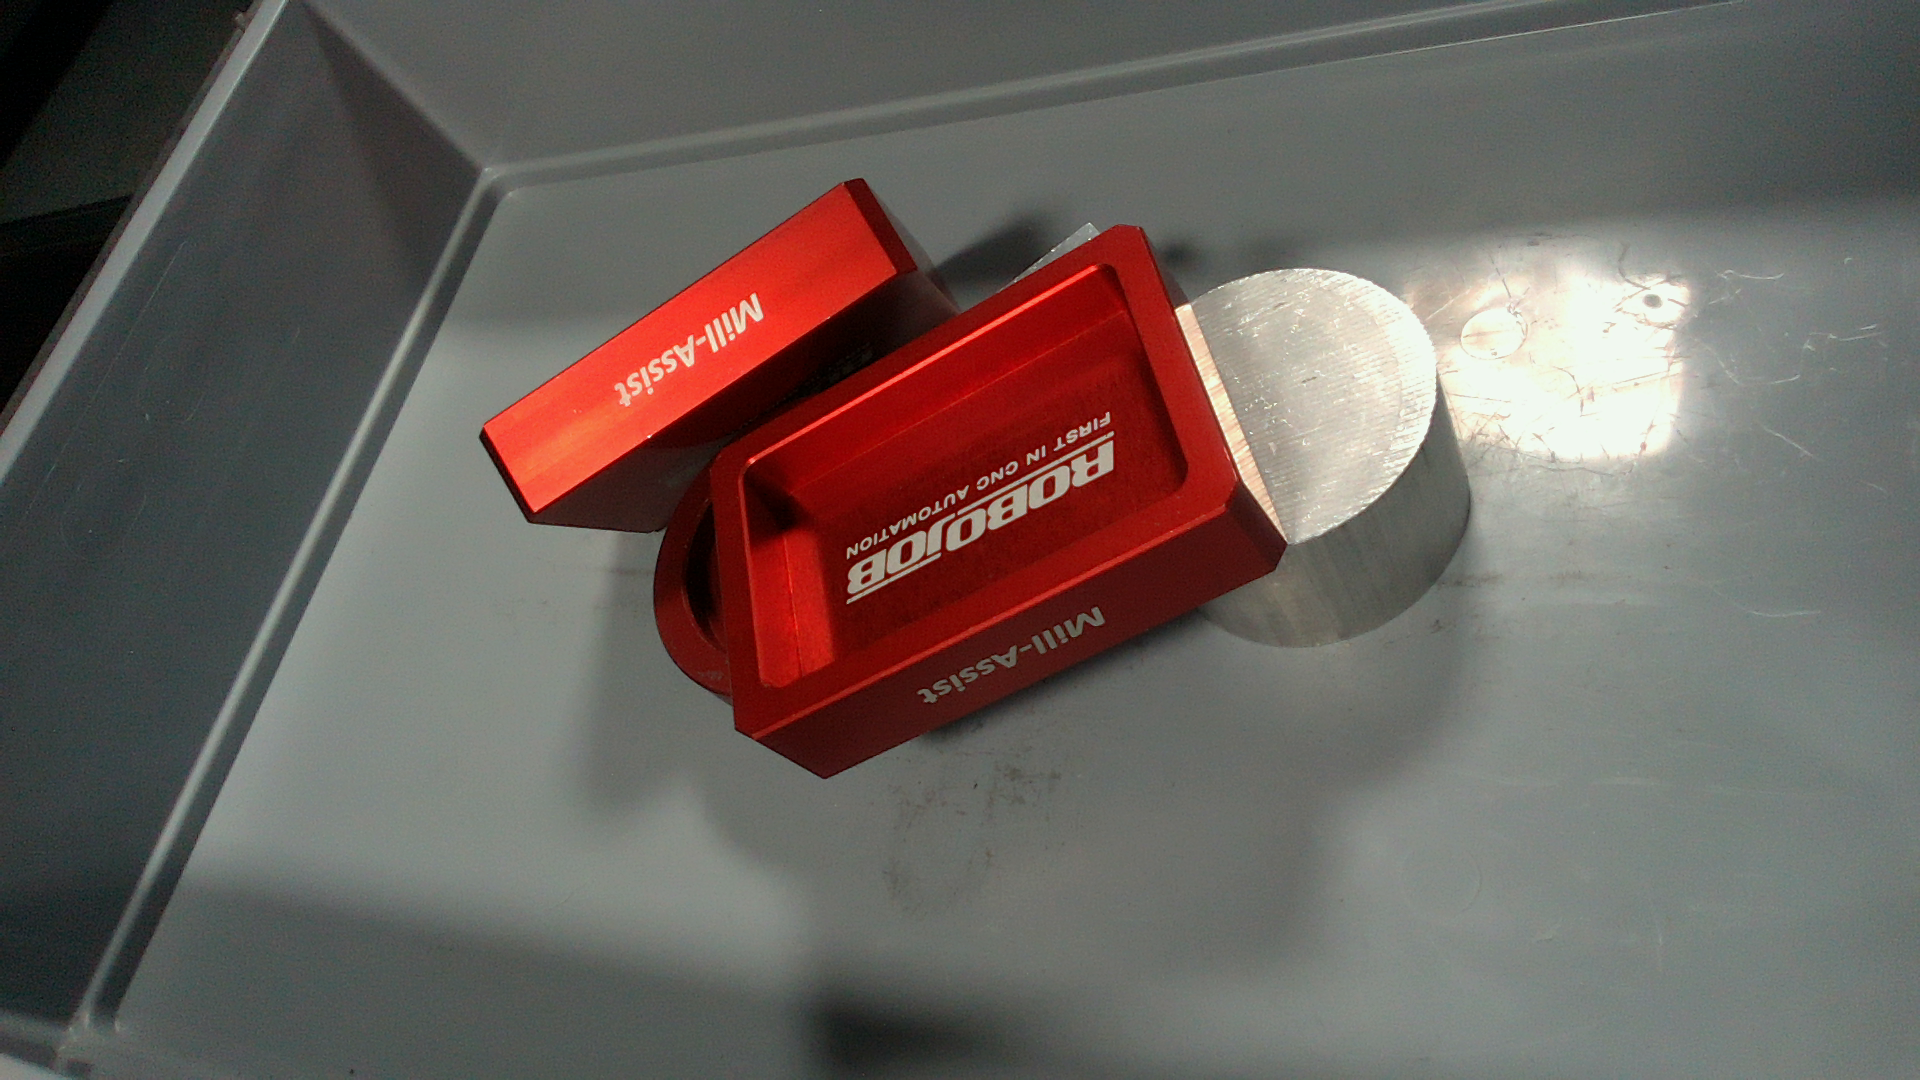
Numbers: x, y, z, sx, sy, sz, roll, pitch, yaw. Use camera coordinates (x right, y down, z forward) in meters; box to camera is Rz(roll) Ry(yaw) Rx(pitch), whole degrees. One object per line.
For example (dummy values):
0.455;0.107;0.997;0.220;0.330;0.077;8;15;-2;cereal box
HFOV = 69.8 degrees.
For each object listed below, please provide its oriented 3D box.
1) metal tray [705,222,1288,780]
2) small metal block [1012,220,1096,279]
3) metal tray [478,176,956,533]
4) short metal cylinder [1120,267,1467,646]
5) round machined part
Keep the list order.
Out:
0.002;-0.009;0.332;0.130;0.030;0.090;-27;51;17;metal tray
0.031;-0.053;0.391;0.050;0.050;0.025;-36;51;2;small metal block
-0.066;-0.050;0.415;0.130;0.090;0.030;-32;83;7;metal tray
0.081;-0.020;0.344;0.080;0.050;0.080;-14;56;21;short metal cylinder
-0.036;0.009;0.397;0.098;0.042;0.098;-13;56;21;round machined part
